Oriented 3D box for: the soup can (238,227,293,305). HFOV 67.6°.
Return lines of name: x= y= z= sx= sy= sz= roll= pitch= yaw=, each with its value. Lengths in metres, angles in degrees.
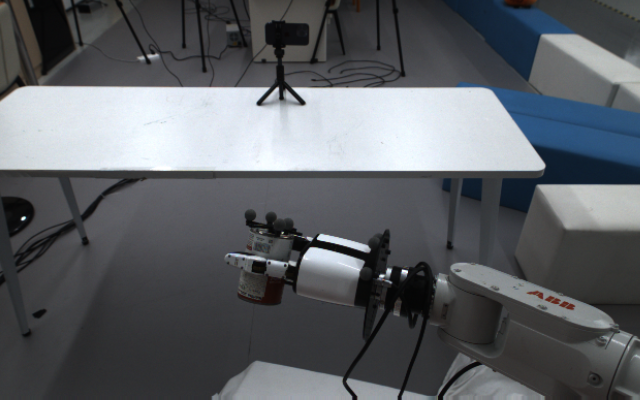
soup can: x=-0.078 y=0.096 z=0.707 sx=0.067 sy=0.101 sz=0.067 roll=12 pitch=2 yaw=0
